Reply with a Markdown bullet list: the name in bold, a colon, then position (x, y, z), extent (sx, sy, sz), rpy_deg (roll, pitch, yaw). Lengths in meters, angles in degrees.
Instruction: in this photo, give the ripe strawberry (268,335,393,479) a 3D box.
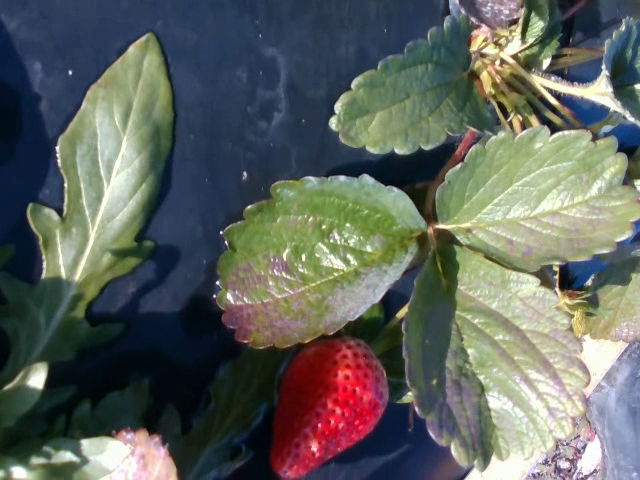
- **ripe strawberry**: position (-0.001, 0.047, 0.165), extent (0.036, 0.044, 0.053), rpy_deg (37, 42, 14)
